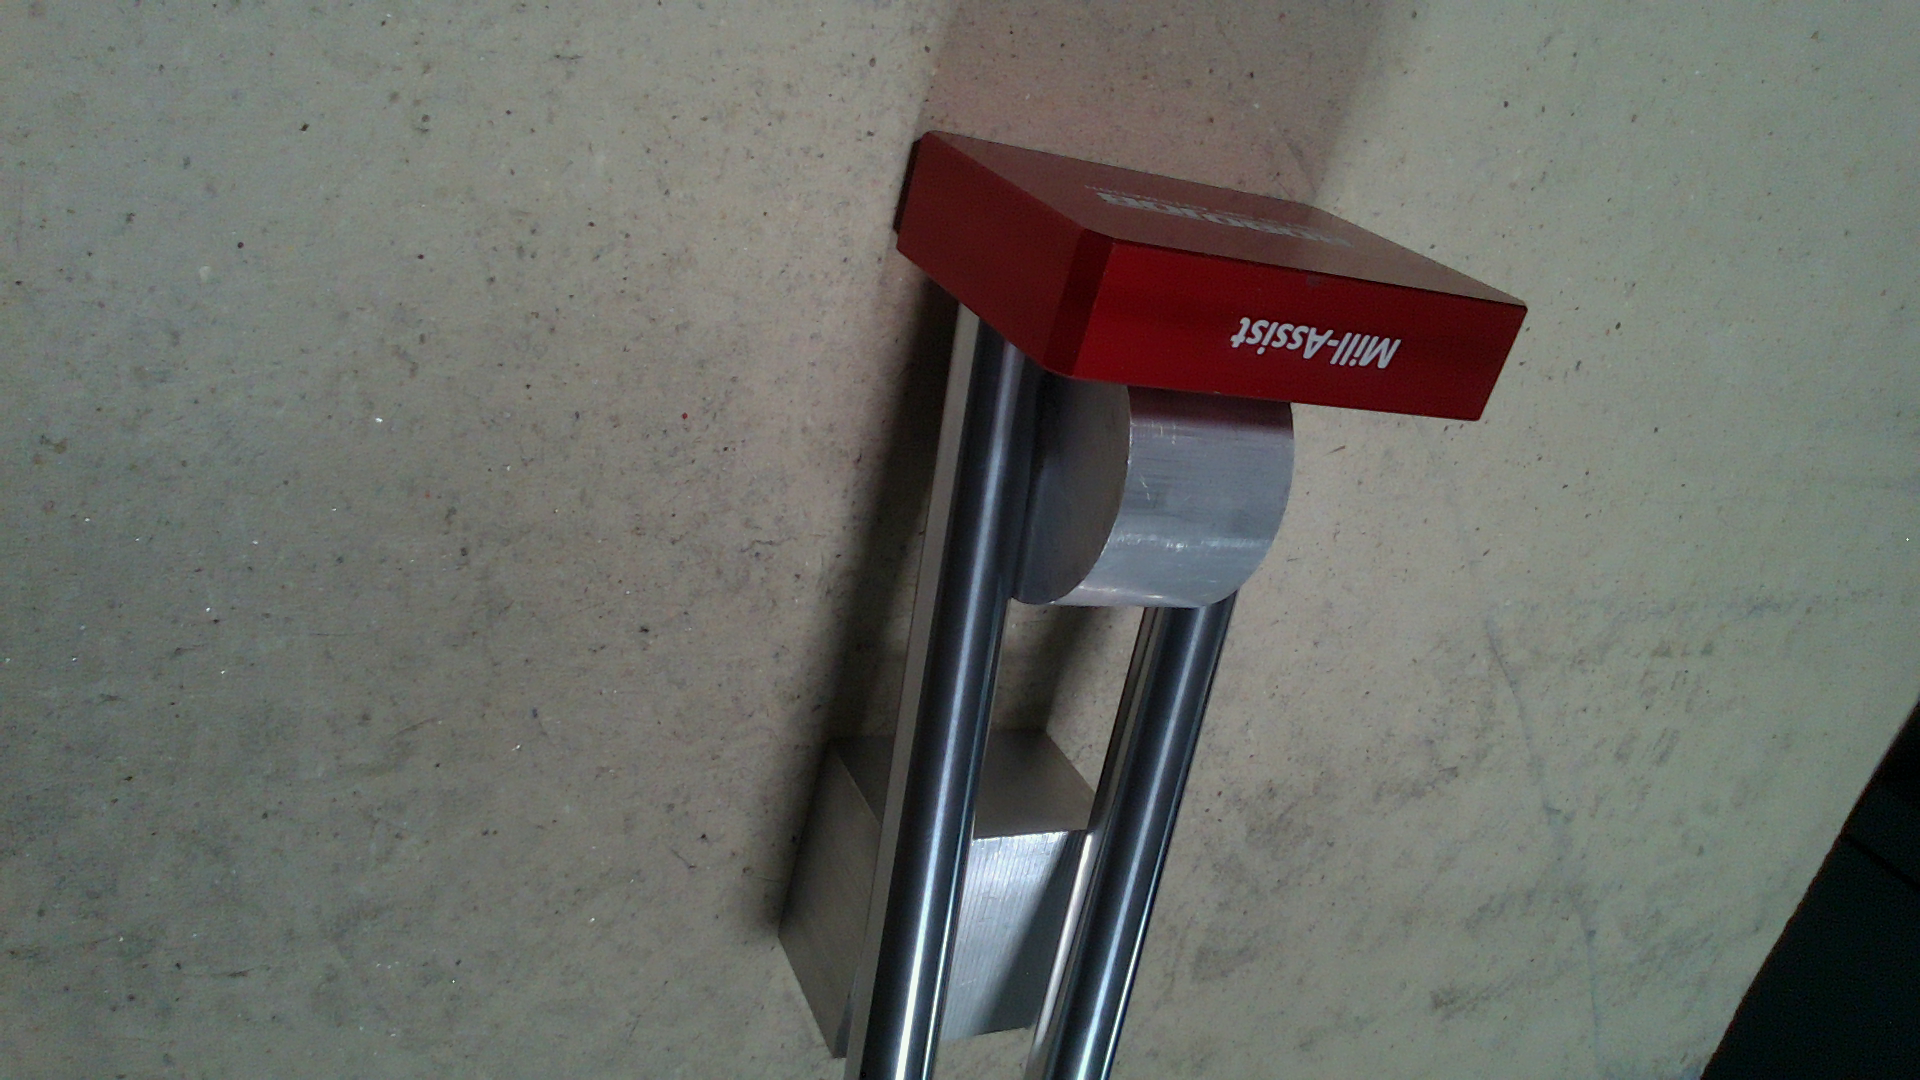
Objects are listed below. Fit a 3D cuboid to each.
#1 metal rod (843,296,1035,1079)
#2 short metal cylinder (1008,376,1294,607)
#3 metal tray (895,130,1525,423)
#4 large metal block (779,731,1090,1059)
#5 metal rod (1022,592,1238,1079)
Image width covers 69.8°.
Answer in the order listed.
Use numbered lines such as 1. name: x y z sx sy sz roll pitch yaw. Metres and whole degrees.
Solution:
1. metal rod: -0.009 0.069 0.368 0.025 0.025 0.300 2 102 -29
2. short metal cylinder: 0.041 -0.022 0.363 0.050 0.080 0.080 2 118 -30
3. metal tray: 0.061 -0.065 0.340 0.130 0.090 0.030 2 117 -29
4. large metal block: -0.005 0.110 0.435 0.080 0.050 0.080 2 118 -29
5. metal rod: 0.053 0.072 0.402 0.025 0.025 0.300 9 99 -32
